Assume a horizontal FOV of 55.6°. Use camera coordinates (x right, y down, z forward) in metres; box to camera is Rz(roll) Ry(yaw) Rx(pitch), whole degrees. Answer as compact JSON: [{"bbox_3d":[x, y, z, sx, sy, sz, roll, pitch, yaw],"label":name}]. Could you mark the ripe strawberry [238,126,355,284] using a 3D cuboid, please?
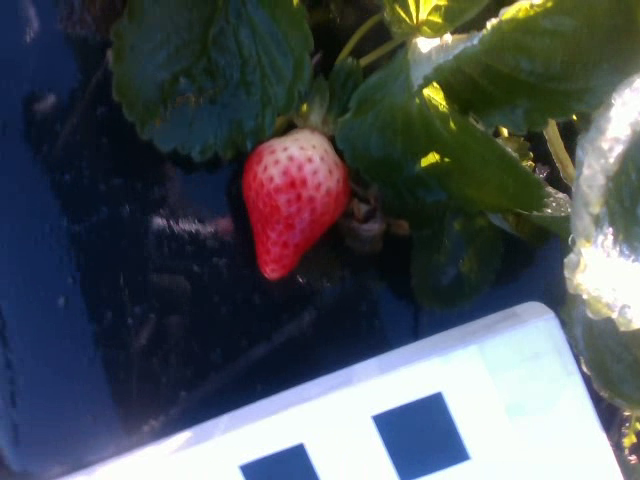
[{"bbox_3d":[-0.017,-0.013,0.231,0.040,0.065,0.040,19,8,0],"label":"ripe strawberry"}]
